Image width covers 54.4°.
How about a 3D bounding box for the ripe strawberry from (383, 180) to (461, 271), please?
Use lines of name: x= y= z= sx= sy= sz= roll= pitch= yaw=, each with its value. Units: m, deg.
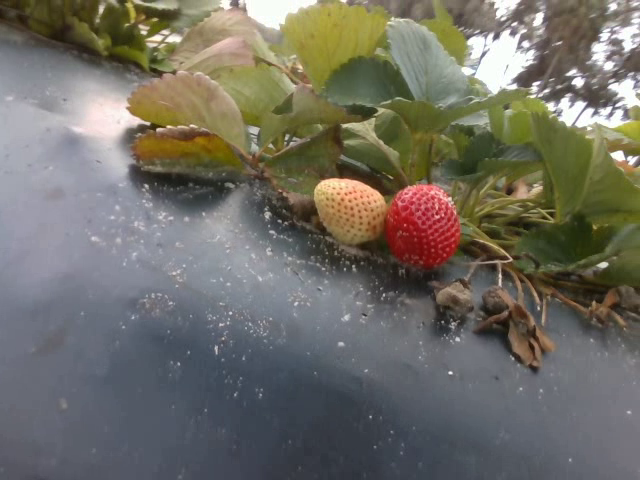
ripe strawberry: x=0.037 y=-0.008 z=0.226 sx=0.033 sy=0.034 sz=0.041 roll=-40 pitch=-32 yaw=7
